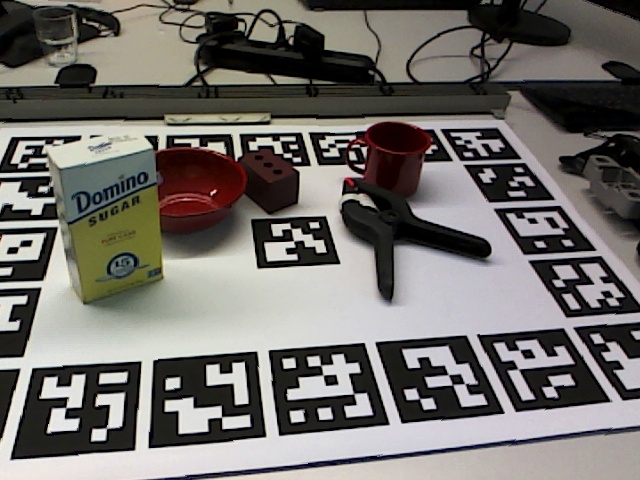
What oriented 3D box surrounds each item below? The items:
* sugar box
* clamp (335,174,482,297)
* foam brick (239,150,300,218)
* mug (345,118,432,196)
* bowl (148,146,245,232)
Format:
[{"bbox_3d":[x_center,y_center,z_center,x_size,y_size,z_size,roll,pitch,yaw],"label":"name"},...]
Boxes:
[{"bbox_3d":[-0.224,-0.017,0.656,0.092,0.176,0.045,-21,48,-30],"label":"sugar box"},{"bbox_3d":[0.082,-0.022,0.797,0.165,0.036,0.204,-21,47,-26],"label":"clamp"},{"bbox_3d":[-0.071,-0.077,0.853,0.052,0.051,0.078,-24,49,-30],"label":"foam brick"},{"bbox_3d":[0.093,-0.120,0.887,0.117,0.081,0.093,16,40,7],"label":"mug"},{"bbox_3d":[-0.180,-0.060,0.807,0.161,0.055,0.162,4,39,-3],"label":"bowl"}]
